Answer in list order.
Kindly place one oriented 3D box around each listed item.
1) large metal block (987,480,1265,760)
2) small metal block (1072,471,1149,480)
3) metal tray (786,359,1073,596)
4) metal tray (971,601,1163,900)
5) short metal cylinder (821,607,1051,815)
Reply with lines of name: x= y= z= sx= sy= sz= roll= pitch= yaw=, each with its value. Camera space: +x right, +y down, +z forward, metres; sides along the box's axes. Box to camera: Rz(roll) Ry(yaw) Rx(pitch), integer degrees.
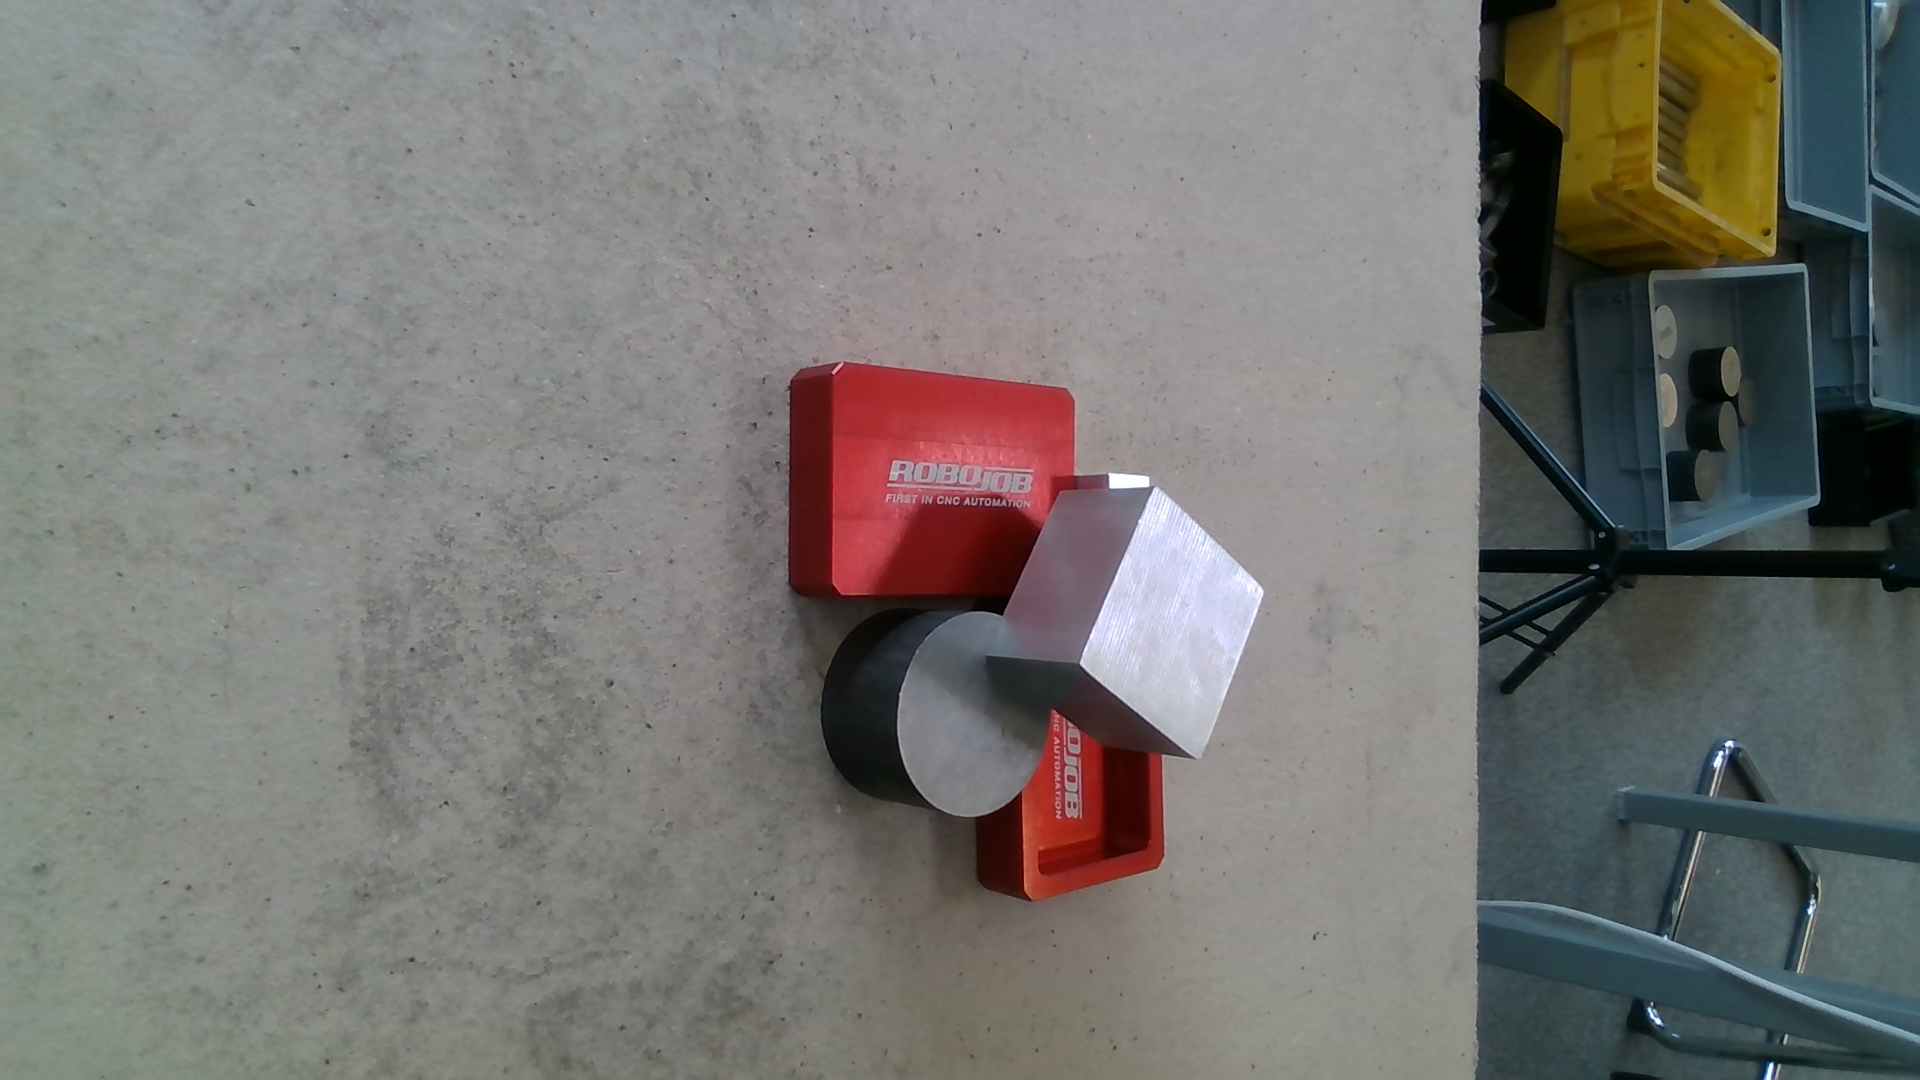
large metal block: x=0.069 y=0.032 z=0.559 sx=0.080 sy=0.050 sz=0.080 roll=40 pitch=66 yaw=-33
small metal block: x=0.057 y=-0.004 z=0.616 sx=0.025 sy=0.050 sz=0.050 roll=1 pitch=89 yaw=-40
metal tray: x=-0.009 y=-0.023 z=0.574 sx=0.130 sy=0.030 sz=0.090 roll=1 pitch=89 yaw=-40
metal tray: x=0.050 y=0.088 z=0.623 sx=0.090 sy=0.030 sz=0.130 roll=-2 pitch=92 yaw=-40
short metal cylinder: x=-0.009 y=0.068 z=0.559 sx=0.080 sy=0.050 sz=0.080 roll=1 pitch=89 yaw=-40
